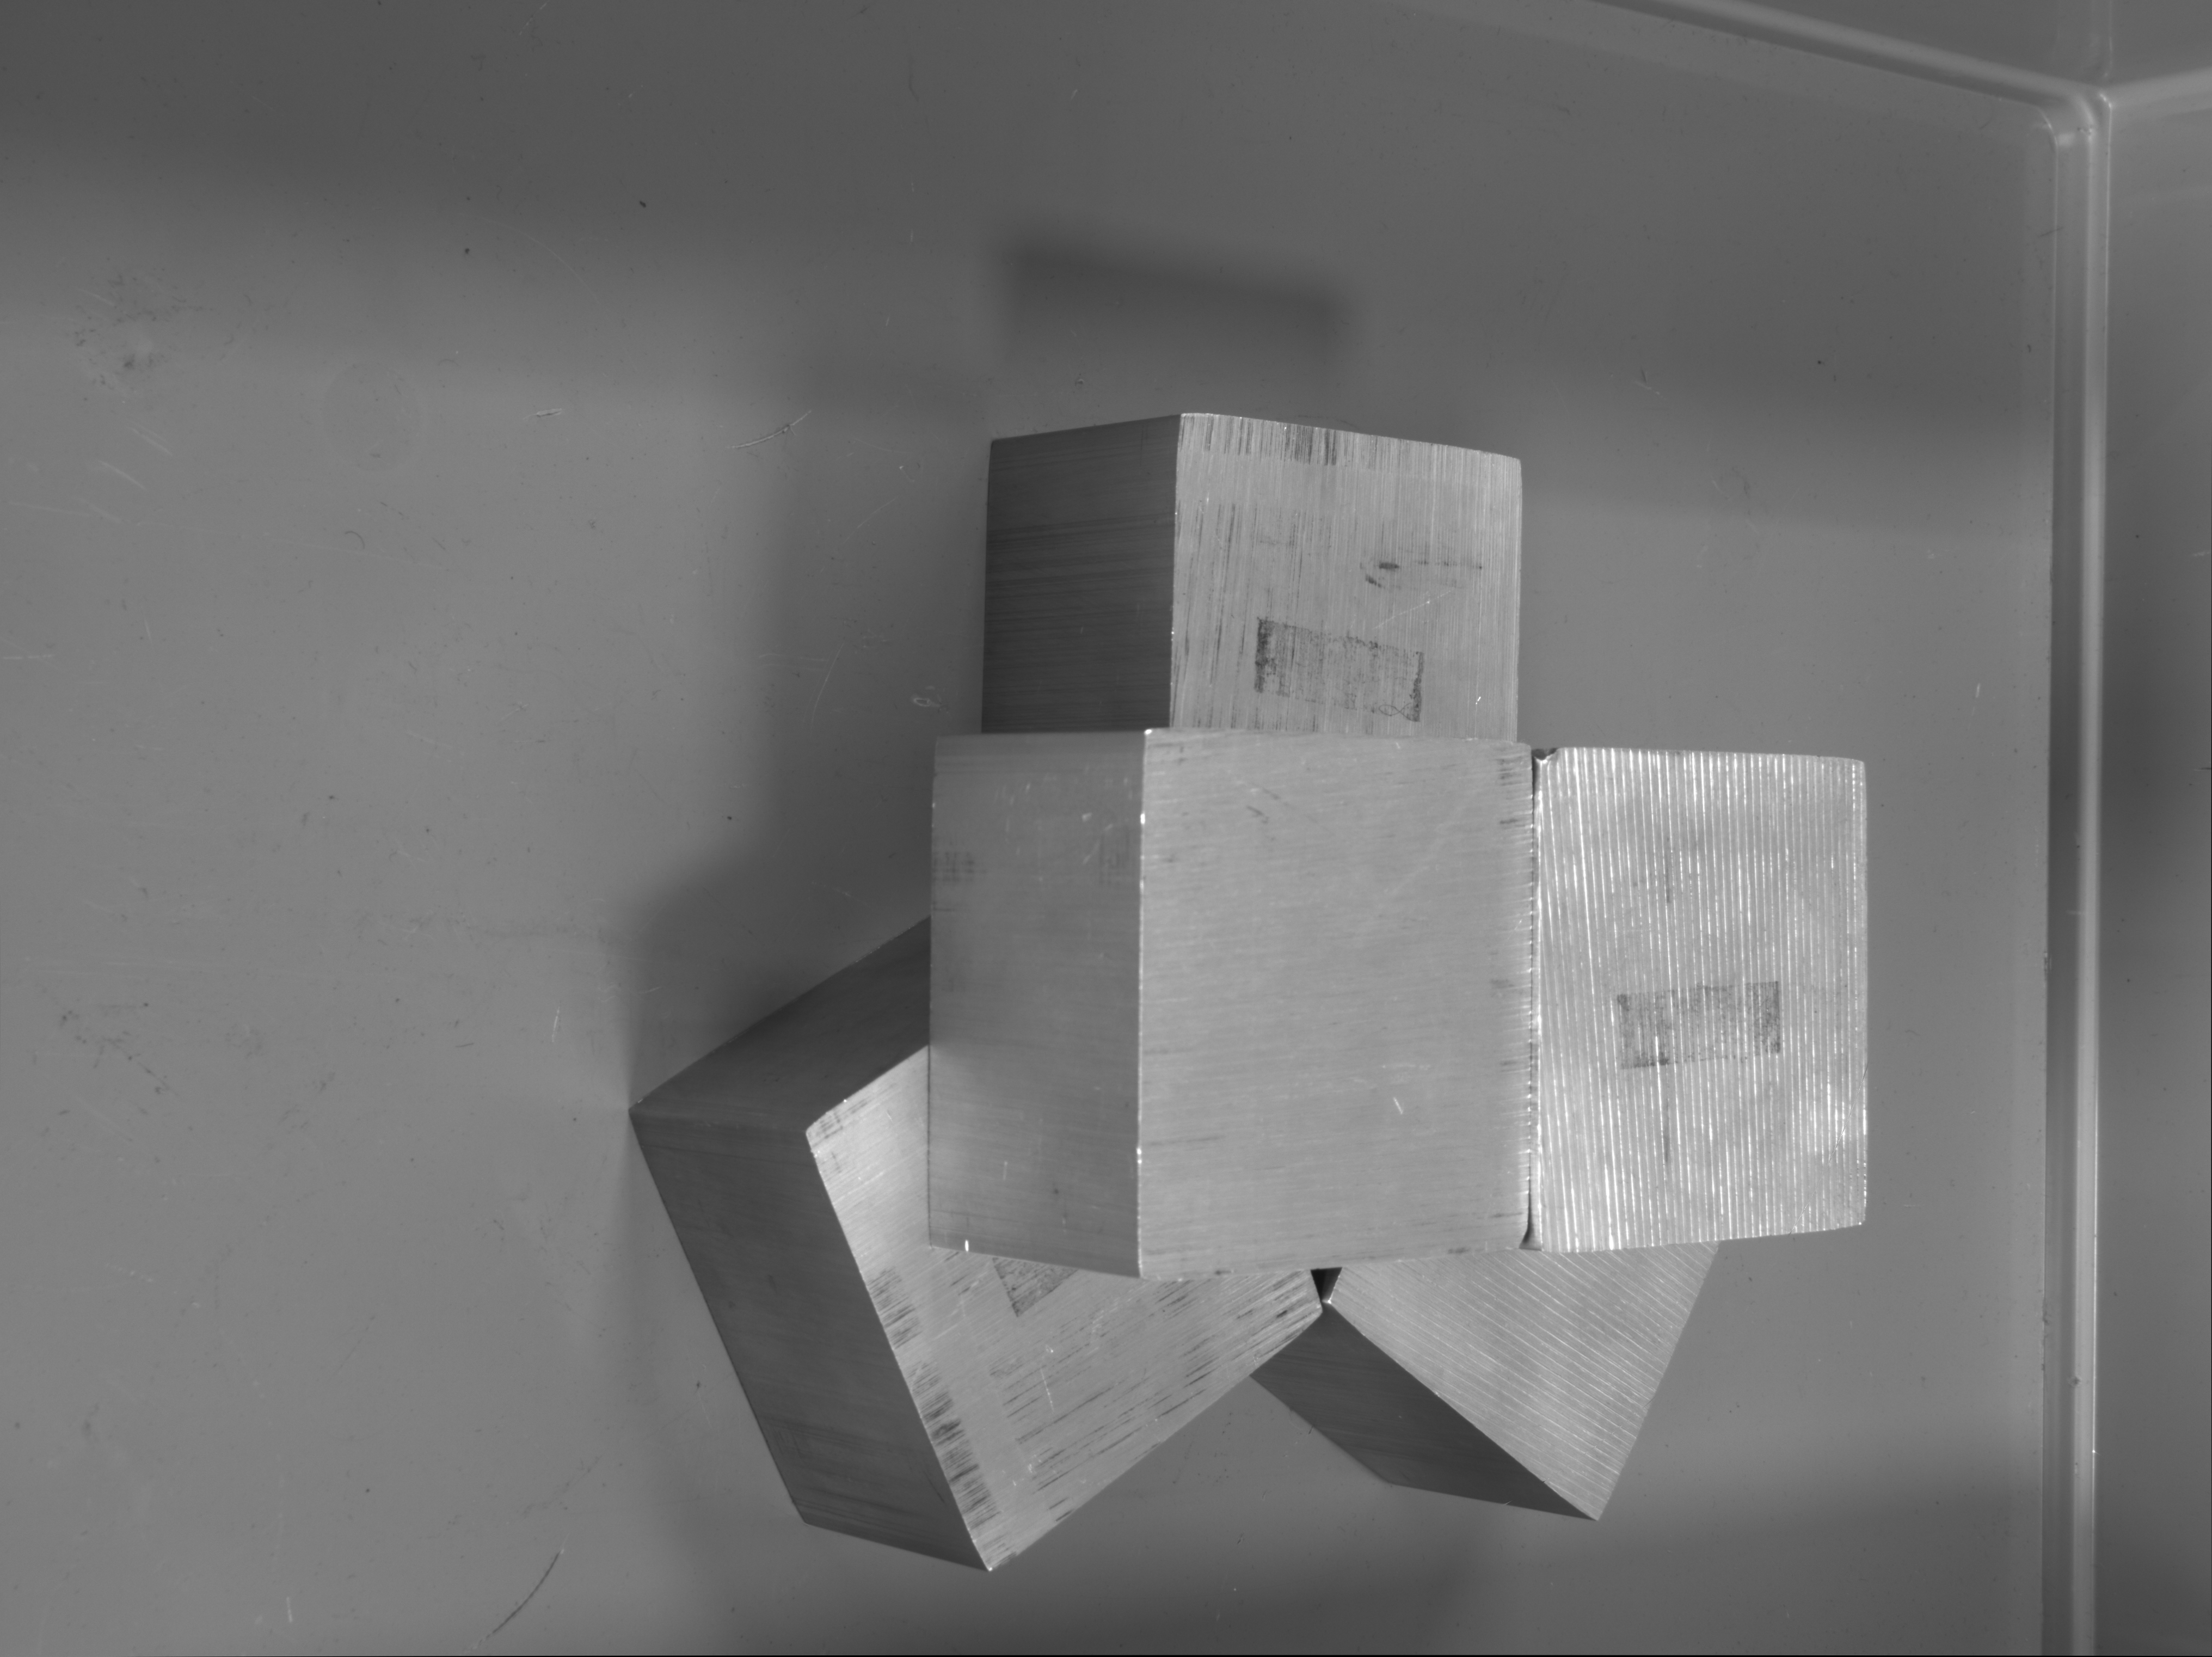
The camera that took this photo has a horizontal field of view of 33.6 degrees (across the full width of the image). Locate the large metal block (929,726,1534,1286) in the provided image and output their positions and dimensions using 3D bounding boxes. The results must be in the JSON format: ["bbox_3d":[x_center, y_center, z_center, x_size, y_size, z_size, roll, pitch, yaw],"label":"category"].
[{"bbox_3d":[0.020,0.026,0.570,0.080,0.050,0.080,1,89,-40],"label":"large metal block"}]

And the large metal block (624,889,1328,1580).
[{"bbox_3d":[-0.020,0.063,0.601,0.080,0.050,0.080,-32,110,-35],"label":"large metal block"}]

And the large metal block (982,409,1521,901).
[{"bbox_3d":[0.026,-0.027,0.639,0.080,0.050,0.080,2,89,-40],"label":"large metal block"}]

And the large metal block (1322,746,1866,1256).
[{"bbox_3d":[0.083,0.028,0.620,0.080,0.050,0.080,1,89,-40],"label":"large metal block"}]

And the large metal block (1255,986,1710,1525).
[{"bbox_3d":[0.063,0.069,0.669,0.080,0.050,0.080,41,65,-31],"label":"large metal block"}]
